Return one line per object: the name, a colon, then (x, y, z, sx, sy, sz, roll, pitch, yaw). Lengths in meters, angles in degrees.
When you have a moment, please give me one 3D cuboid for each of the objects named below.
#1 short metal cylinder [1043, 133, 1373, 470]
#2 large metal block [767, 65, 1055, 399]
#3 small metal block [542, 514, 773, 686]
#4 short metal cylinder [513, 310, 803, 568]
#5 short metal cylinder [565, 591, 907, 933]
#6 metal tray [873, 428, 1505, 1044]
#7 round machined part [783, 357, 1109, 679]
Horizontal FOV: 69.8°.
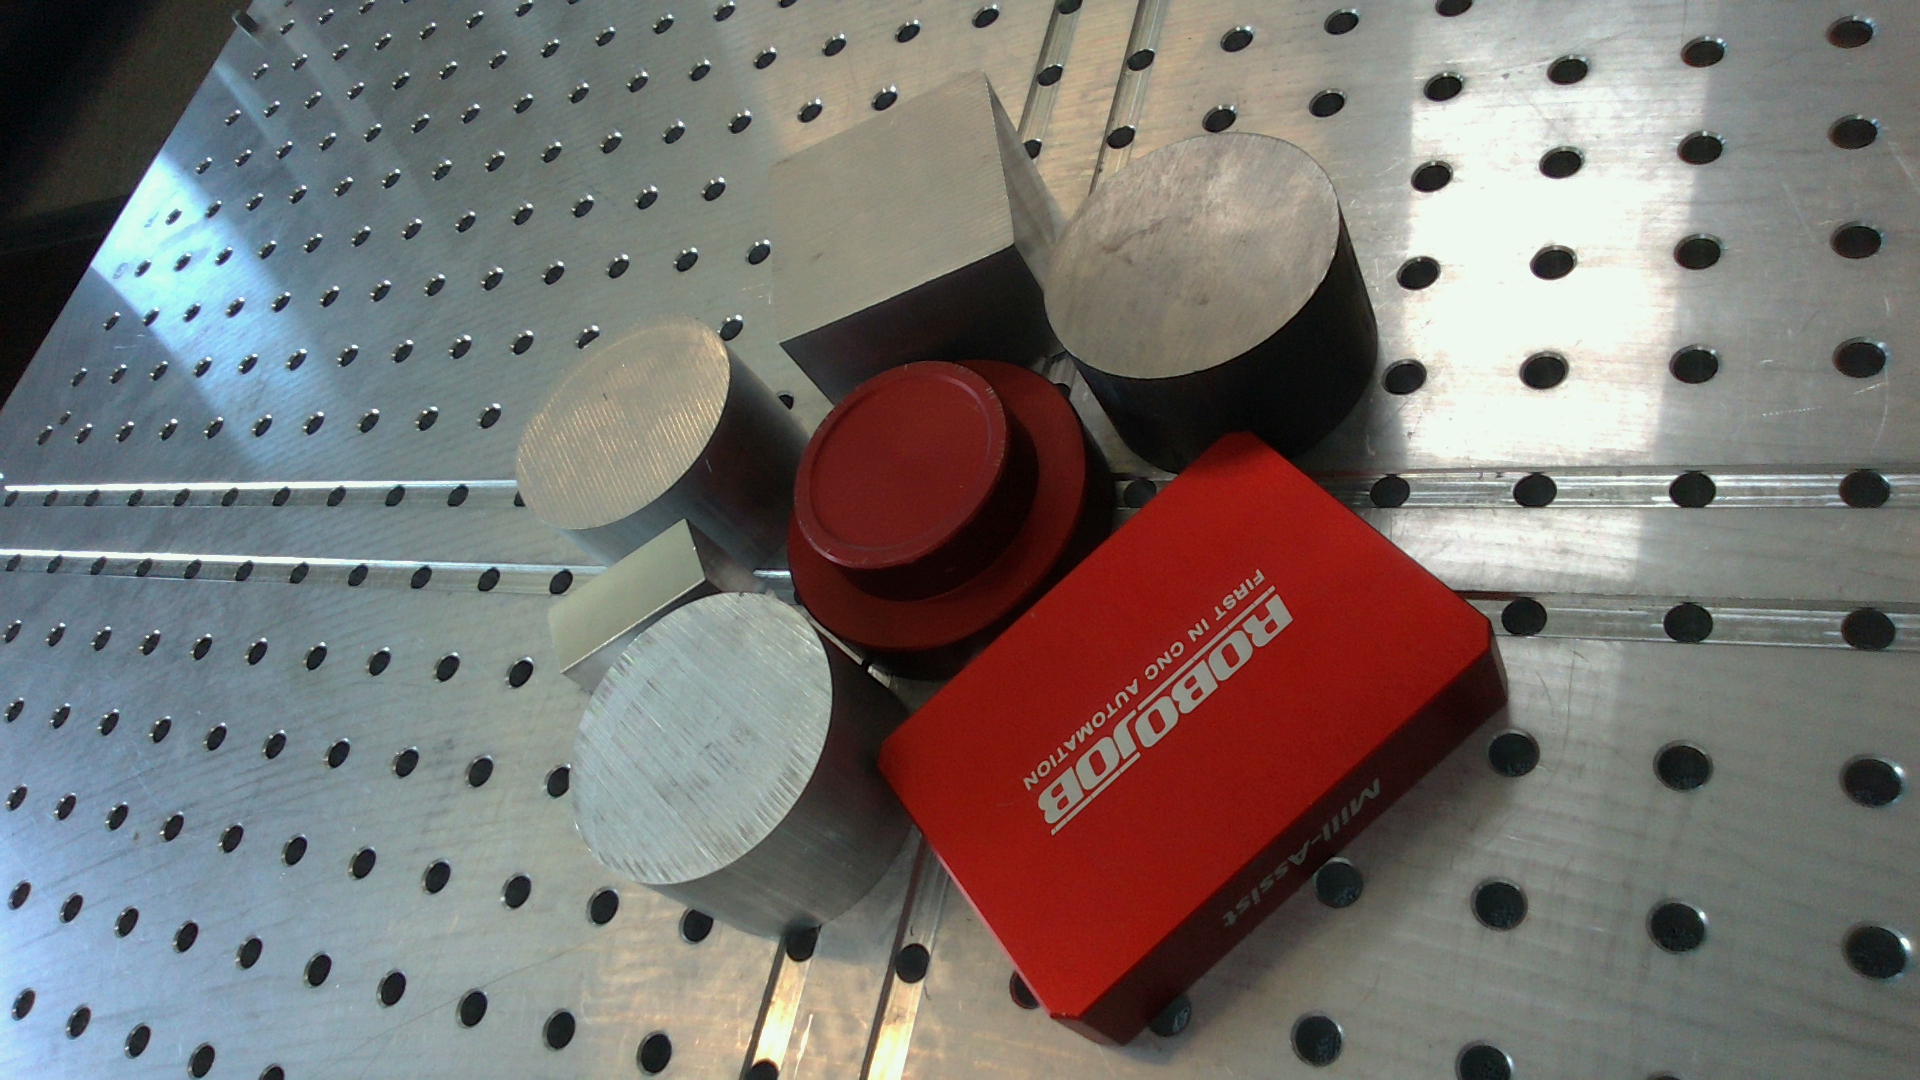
short metal cylinder: (0.069, -0.065, 0.382, 0.080, 0.050, 0.080, -13, 56, 21)
large metal block: (-0.014, -0.094, 0.446, 0.080, 0.050, 0.080, -20, 54, 17)
small metal block: (-0.086, 0.027, 0.410, 0.050, 0.050, 0.025, -33, 51, 7)
short metal cylinder: (-0.097, -0.027, 0.449, 0.080, 0.050, 0.080, -13, 56, 21)
short metal cylinder: (-0.059, 0.061, 0.374, 0.080, 0.050, 0.080, -13, 56, 21)
metal tray: (0.053, 0.044, 0.336, 0.130, 0.030, 0.090, -42, 50, -1)
round machined part: (-0.009, -0.013, 0.398, 0.098, 0.042, 0.098, -13, 56, 21)
